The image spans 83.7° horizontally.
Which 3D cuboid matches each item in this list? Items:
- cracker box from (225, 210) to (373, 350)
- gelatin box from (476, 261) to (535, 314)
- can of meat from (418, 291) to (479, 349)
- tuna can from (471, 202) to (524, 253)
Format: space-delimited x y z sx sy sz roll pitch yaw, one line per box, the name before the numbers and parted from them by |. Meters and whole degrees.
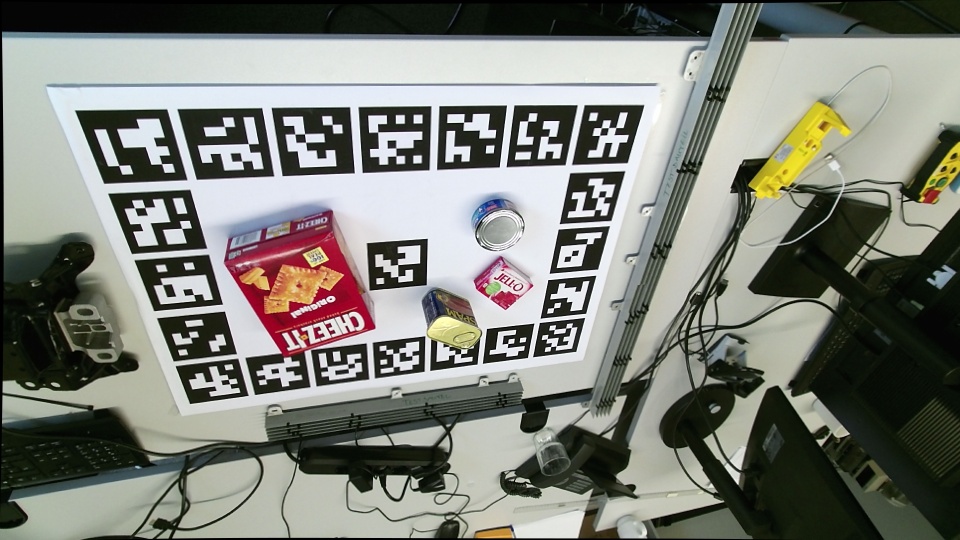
cracker box | -0.288 0.023 0.883 0.165 0.071 0.214 -16 131 -3
gelatin box | 0.047 0.036 1.017 0.073 0.030 0.090 -40 125 19
can of meat | -0.062 0.092 1.002 0.102 0.083 0.058 23 118 -32
tuna can | 0.029 -0.074 0.920 0.086 0.033 0.086 -9 126 -12
